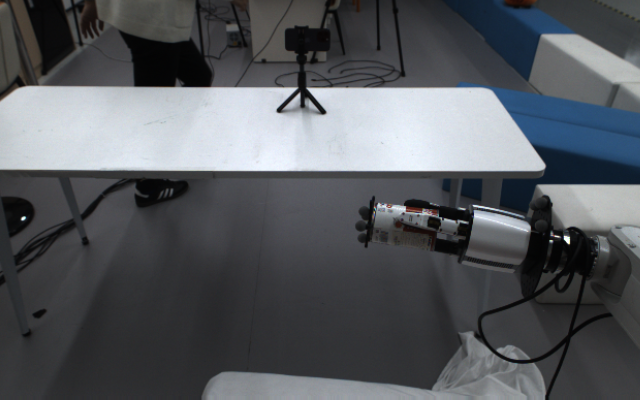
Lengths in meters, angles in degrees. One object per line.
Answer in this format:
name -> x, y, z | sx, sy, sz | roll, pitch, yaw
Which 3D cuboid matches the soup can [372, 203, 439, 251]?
soup can -> 0.138, 0.042, 0.779 | 0.101, 0.067, 0.067 | 7, 35, 10
